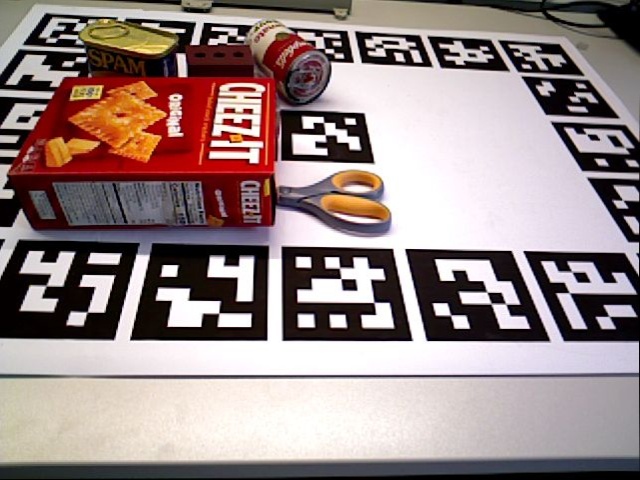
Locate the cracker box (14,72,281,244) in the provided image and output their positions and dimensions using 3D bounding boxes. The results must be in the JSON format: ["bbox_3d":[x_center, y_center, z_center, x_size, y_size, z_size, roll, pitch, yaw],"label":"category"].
[{"bbox_3d":[-0.149,-0.085,0.501,0.212,0.073,0.162,-5,47,-6],"label":"cracker box"}]

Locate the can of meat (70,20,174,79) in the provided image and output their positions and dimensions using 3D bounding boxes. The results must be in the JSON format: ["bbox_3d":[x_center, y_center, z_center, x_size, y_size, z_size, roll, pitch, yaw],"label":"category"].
[{"bbox_3d":[-0.210,-0.183,0.595,0.101,0.086,0.056,12,47,4],"label":"can of meat"}]

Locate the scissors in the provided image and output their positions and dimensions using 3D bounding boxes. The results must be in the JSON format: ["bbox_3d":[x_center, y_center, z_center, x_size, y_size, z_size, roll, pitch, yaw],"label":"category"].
[{"bbox_3d":[-0.036,-0.035,0.511,0.201,0.016,0.086,-3,48,-8],"label":"scissors"}]

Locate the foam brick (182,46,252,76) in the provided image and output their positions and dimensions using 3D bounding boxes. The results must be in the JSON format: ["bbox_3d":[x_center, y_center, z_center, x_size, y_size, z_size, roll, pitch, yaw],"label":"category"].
[{"bbox_3d":[-0.120,-0.191,0.639,0.077,0.052,0.052,-7,49,-13],"label":"foam brick"}]

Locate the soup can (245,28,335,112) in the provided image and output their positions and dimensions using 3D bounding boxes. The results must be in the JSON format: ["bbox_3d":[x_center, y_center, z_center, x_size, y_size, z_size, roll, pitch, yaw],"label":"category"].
[{"bbox_3d":[-0.040,-0.209,0.663,0.066,0.069,0.102,-30,52,-30],"label":"soup can"}]
